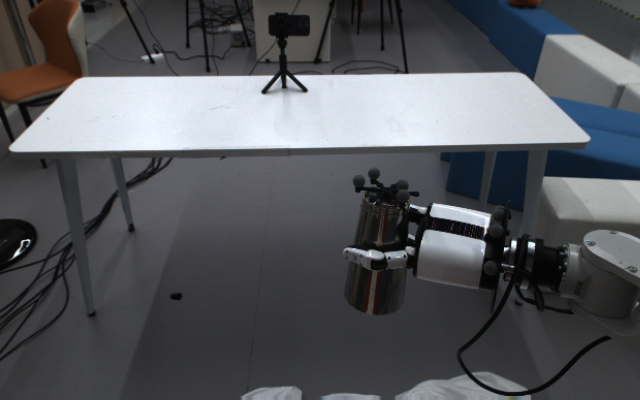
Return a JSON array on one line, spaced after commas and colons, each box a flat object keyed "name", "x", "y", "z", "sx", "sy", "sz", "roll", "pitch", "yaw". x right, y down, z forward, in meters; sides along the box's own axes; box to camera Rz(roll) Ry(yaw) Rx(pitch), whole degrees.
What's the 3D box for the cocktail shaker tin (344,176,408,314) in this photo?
[{"name": "cocktail shaker tin", "x": 0.089, "y": 0.070, "z": 0.709, "sx": 0.093, "sy": 0.170, "sz": 0.093, "roll": 3, "pitch": 26, "yaw": -1}]
